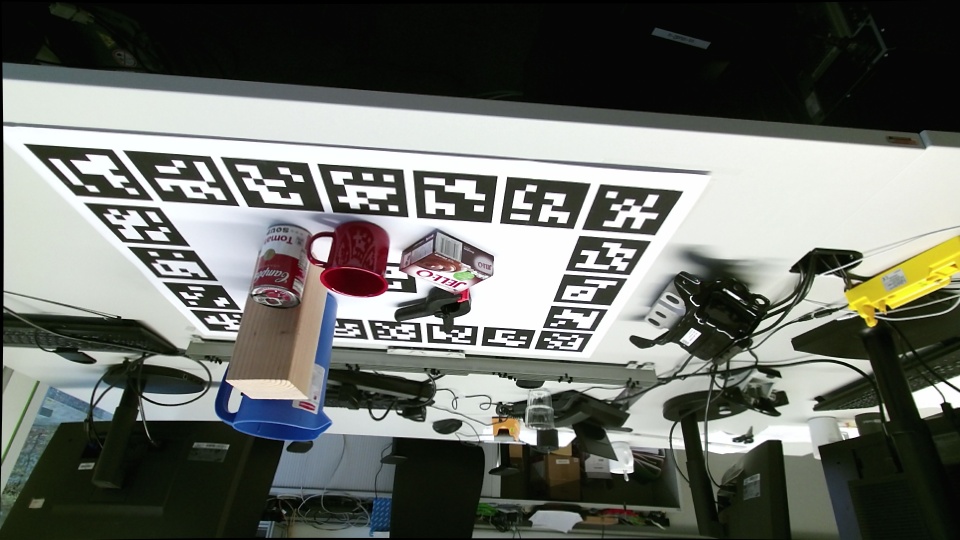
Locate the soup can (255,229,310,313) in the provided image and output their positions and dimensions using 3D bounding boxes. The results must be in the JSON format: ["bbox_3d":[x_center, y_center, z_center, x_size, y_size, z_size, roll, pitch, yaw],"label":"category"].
[{"bbox_3d":[-0.280,0.001,0.757,0.068,0.101,0.068,1,147,1],"label":"soup can"}]

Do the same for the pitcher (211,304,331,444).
[{"bbox_3d":[-0.338,0.164,0.903,0.189,0.241,0.133,0,152,-3],"label":"pitcher"}]

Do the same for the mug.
[{"bbox_3d":[-0.185,-0.013,0.750,0.118,0.081,0.093,23,146,-33],"label":"mug"}]

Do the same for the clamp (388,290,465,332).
[{"bbox_3d":[-0.078,0.074,0.949,0.122,0.036,0.165,26,142,-23],"label":"clamp"}]

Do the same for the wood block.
[{"bbox_3d":[-0.305,0.090,0.807,0.090,0.205,0.091,5,150,2],"label":"wood block"}]

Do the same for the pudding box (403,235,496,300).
[{"bbox_3d":[-0.046,-0.002,0.809,0.114,0.038,0.090,25,139,-35],"label":"pudding box"}]
